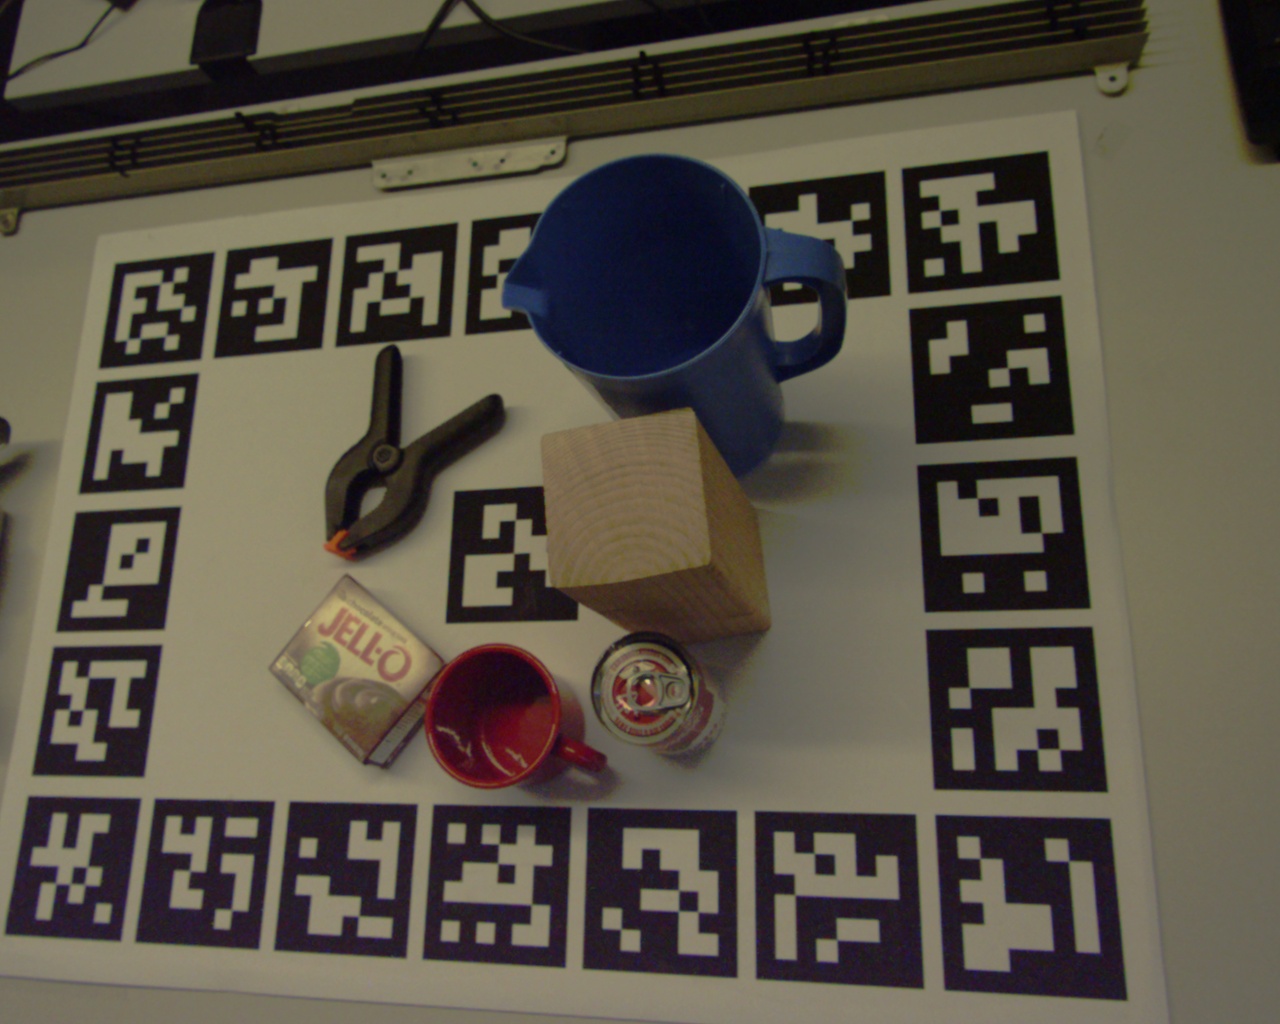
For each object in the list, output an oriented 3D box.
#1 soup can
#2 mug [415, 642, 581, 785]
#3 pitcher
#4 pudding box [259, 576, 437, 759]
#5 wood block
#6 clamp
[{"bbox_3d":[0.001,0.125,0.754,0.068,0.101,0.068,-4,76,15],"label":"soup can"},{"bbox_3d":[-0.087,0.151,0.784,0.118,0.081,0.093,35,83,23],"label":"mug"},{"bbox_3d":[0.031,-0.099,0.739,0.190,0.240,0.133,-4,71,17],"label":"pitcher"},{"bbox_3d":[-0.217,0.117,0.858,0.115,0.038,0.090,37,89,23],"label":"pudding box"},{"bbox_3d":[0.007,0.023,0.726,0.090,0.205,0.091,-4,73,10],"label":"wood block"},{"bbox_3d":[-0.191,-0.037,0.902,0.123,0.036,0.165,28,84,14],"label":"clamp"}]
